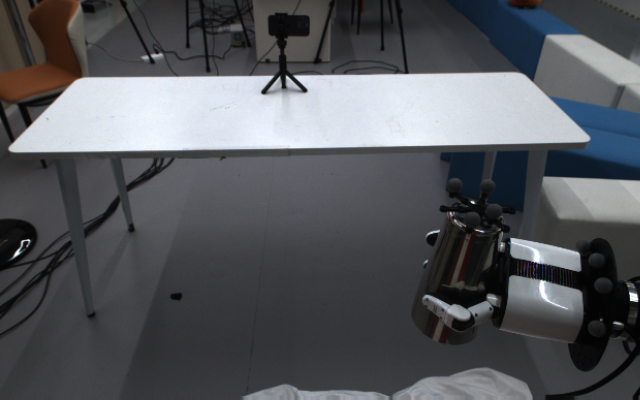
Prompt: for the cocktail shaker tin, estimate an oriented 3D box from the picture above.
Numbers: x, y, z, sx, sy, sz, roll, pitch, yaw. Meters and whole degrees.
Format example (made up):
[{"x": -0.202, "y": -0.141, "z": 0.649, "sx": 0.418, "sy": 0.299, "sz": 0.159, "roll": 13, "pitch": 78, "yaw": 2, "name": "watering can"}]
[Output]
[{"x": 0.177, "y": 0.087, "z": 0.606, "sx": 0.093, "sy": 0.170, "sz": 0.093, "roll": 3, "pitch": 34, "yaw": -2, "name": "cocktail shaker tin"}]
